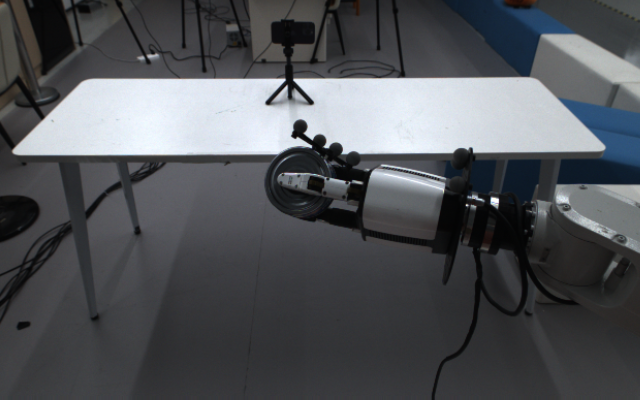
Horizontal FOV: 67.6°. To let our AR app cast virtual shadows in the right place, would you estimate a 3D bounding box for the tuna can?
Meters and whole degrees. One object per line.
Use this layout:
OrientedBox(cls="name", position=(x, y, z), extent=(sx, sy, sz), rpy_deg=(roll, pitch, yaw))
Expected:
OrientedBox(cls="tuna can", position=(-0.020, -0.015, 0.590), extent=(0.085, 0.085, 0.034), rpy_deg=(13, -4, 15))
